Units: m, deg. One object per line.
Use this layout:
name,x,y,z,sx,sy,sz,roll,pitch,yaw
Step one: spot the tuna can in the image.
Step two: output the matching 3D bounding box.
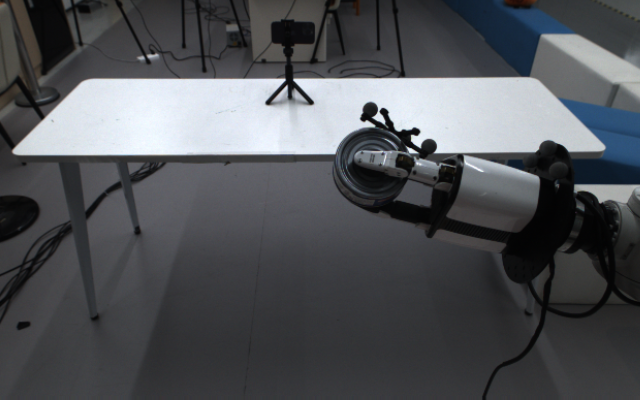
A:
tuna can,0.062,-0.031,0.540,0.085,0.034,0.085,0,74,-1
